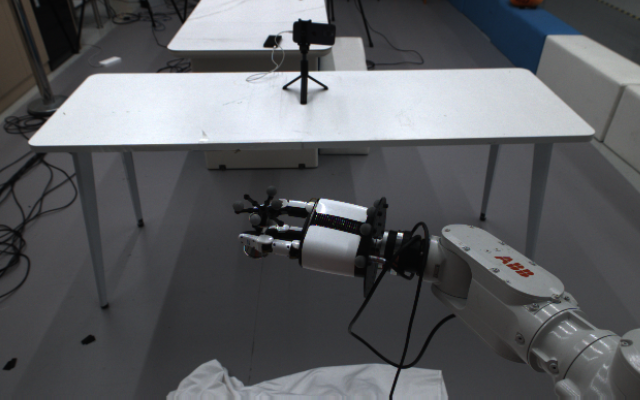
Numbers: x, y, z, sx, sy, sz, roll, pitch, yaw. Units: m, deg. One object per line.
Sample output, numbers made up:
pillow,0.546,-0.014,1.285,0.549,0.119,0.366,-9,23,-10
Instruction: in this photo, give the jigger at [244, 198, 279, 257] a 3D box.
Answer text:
jigger,-0.099,0.055,0.784,0.043,0.071,0.043,10,36,-7
